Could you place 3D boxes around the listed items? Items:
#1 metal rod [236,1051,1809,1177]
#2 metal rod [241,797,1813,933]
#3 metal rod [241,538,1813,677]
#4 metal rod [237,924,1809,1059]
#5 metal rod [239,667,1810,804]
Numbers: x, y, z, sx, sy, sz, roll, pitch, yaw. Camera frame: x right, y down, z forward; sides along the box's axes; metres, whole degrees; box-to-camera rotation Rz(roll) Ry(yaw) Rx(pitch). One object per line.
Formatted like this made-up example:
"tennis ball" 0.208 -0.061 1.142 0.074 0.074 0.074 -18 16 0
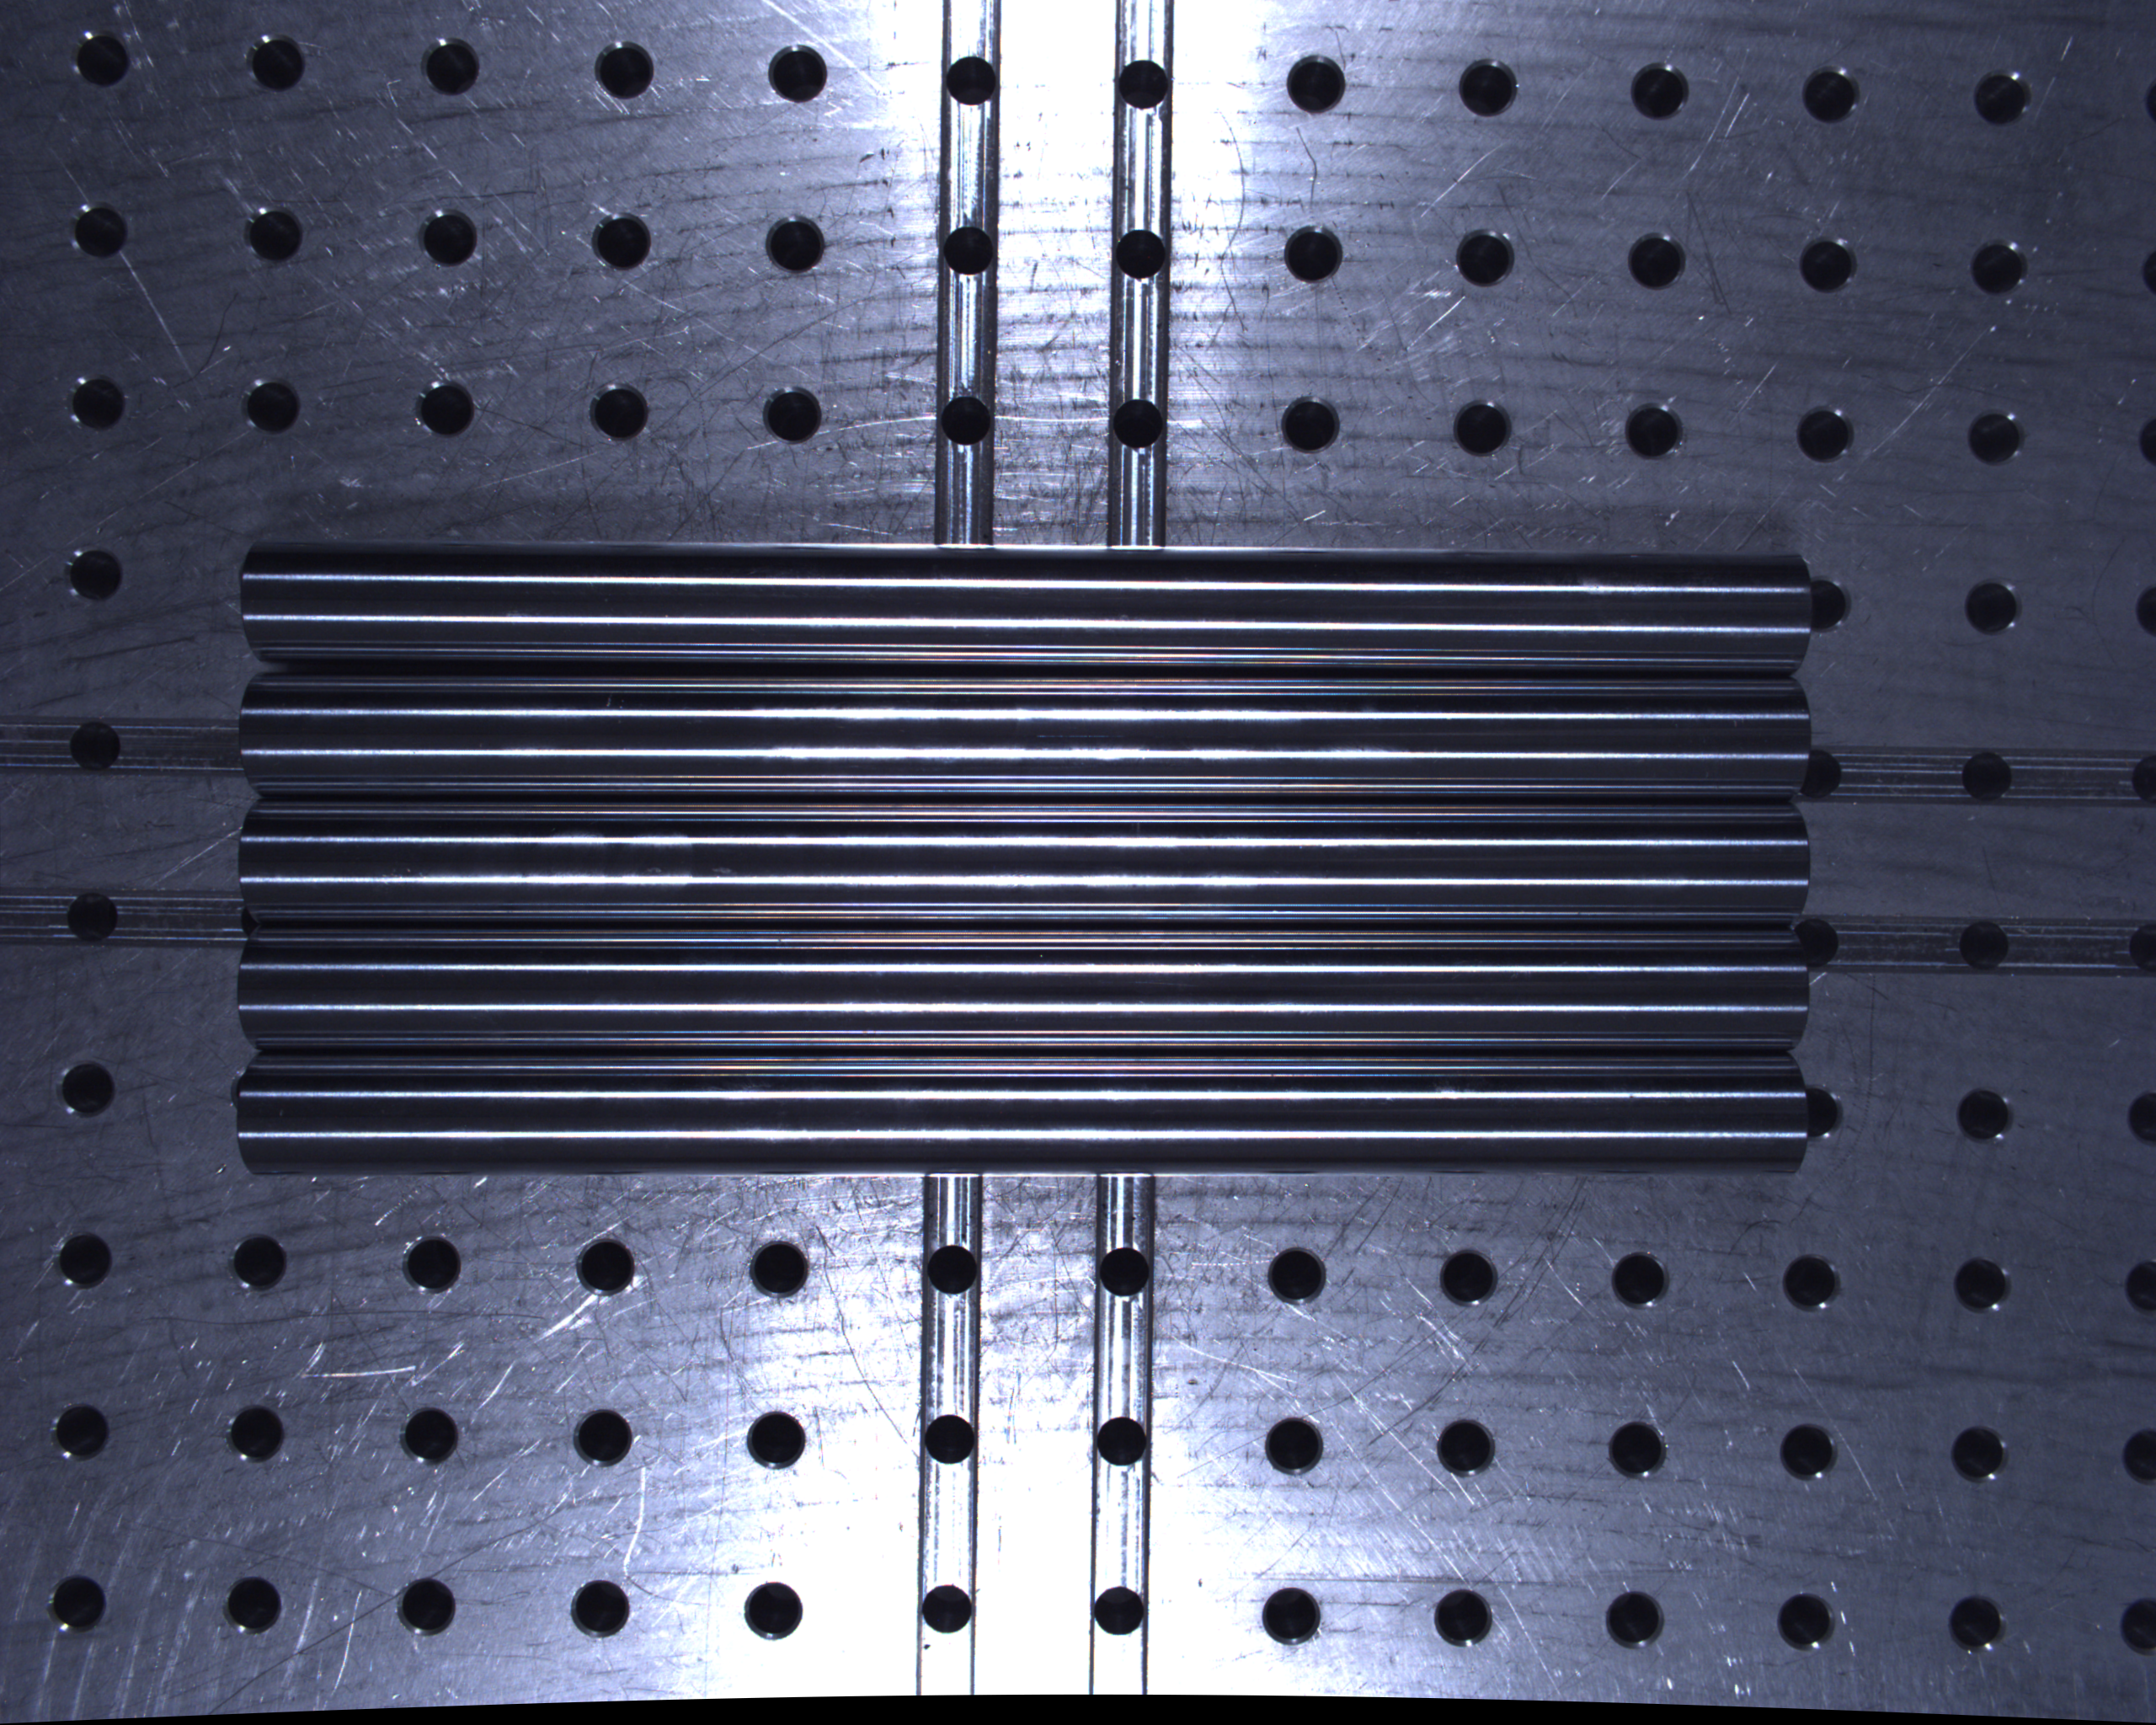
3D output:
"metal rod" -0.010 0.050 0.413 0.302 0.025 0.025 0 90 -1
"metal rod" -0.009 0.001 0.413 0.302 0.025 0.025 0 90 -1
"metal rod" -0.009 -0.050 0.413 0.302 0.025 0.025 0 90 -1
"metal rod" -0.010 0.026 0.413 0.302 0.025 0.025 0 90 -1
"metal rod" -0.010 -0.025 0.413 0.302 0.025 0.025 0 90 -1
